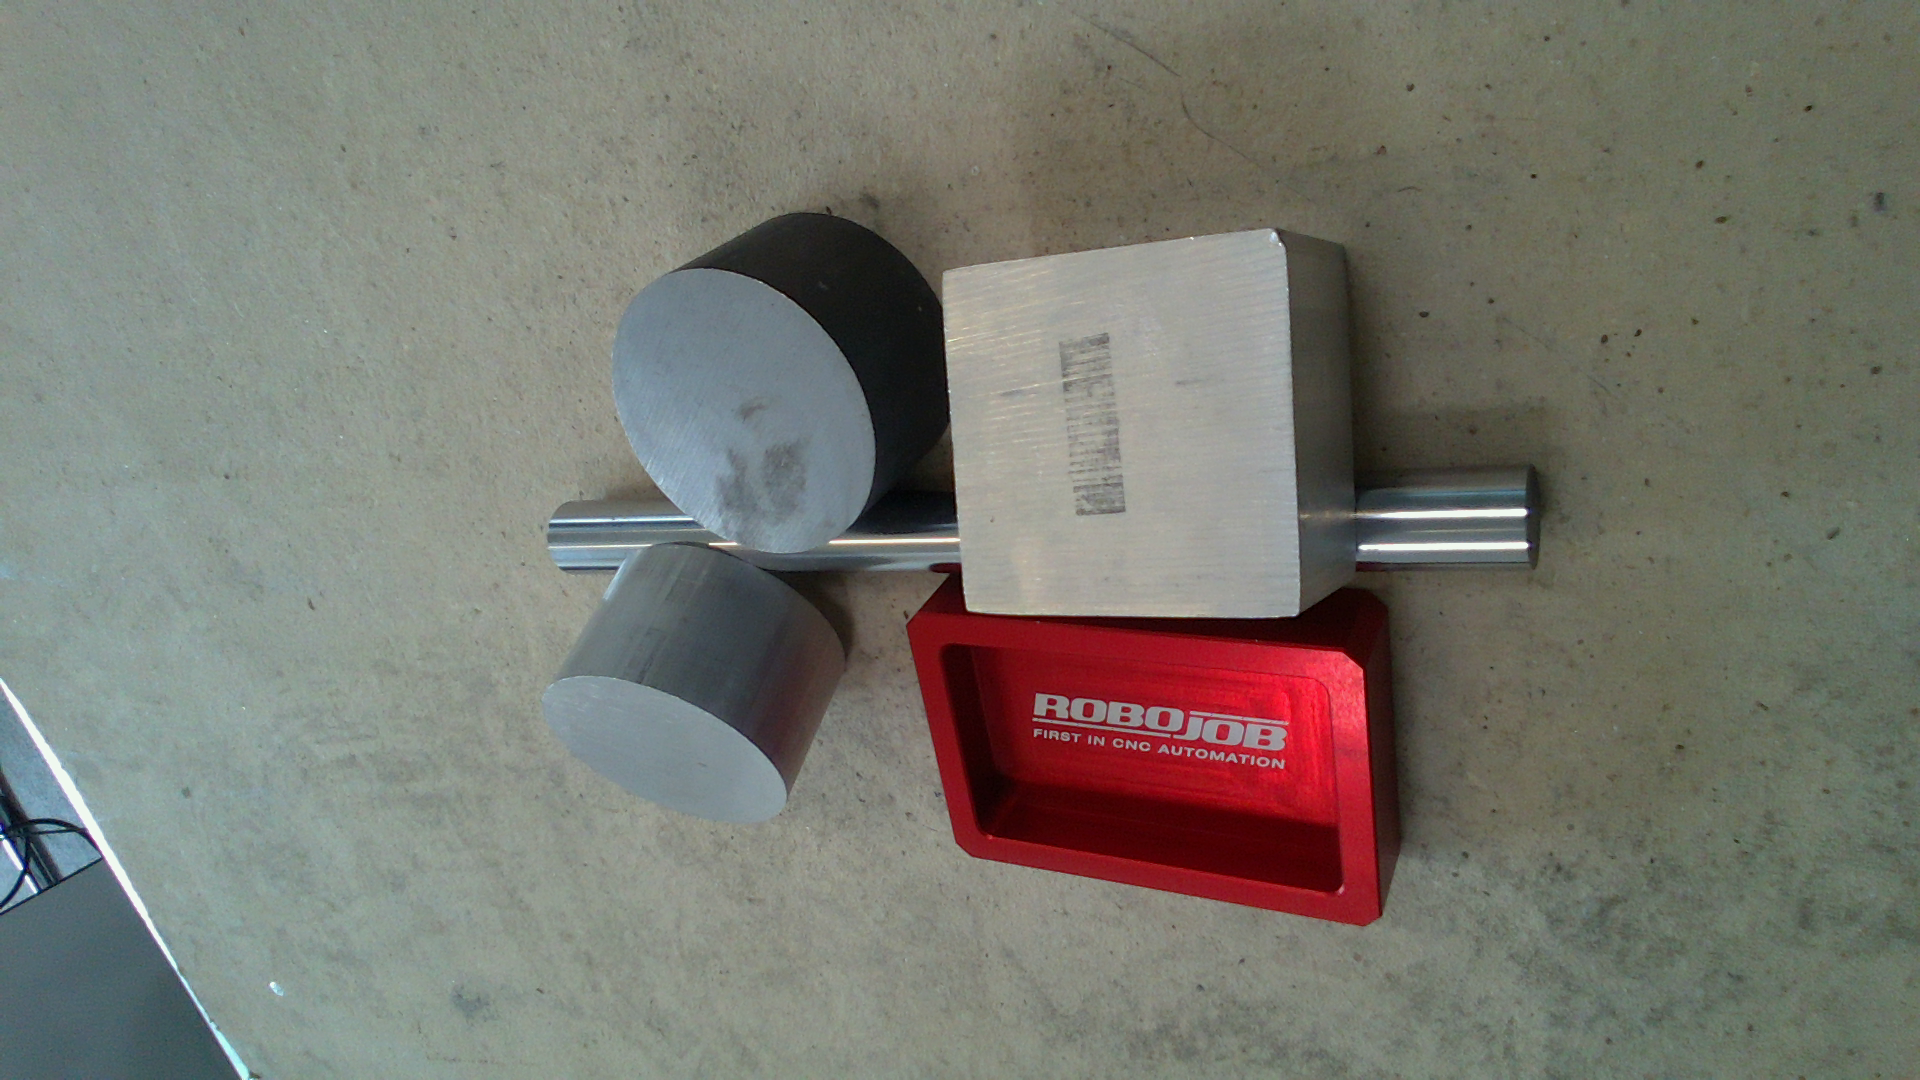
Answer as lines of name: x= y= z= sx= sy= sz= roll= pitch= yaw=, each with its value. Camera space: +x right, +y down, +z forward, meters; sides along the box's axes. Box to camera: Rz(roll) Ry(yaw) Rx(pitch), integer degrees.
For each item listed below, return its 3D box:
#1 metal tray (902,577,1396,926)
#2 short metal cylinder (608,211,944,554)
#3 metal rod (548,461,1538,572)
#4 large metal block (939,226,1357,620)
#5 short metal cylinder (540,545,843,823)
metal tray: x=0.054 y=0.057 z=0.395 sx=0.130 sy=0.030 sz=0.090 roll=3 pitch=120 yaw=27
short metal cylinder: x=-0.047 y=-0.043 z=0.376 sx=0.080 sy=0.050 sz=0.080 roll=13 pitch=124 yaw=21
metal rod: x=0.002 y=-0.004 z=0.391 sx=0.299 sy=0.025 sz=0.025 roll=-1 pitch=118 yaw=29
large metal block: x=0.045 y=-0.026 z=0.321 sx=0.080 sy=0.050 sz=0.080 roll=-1 pitch=97 yaw=29
short metal cylinder: x=-0.083 y=0.047 z=0.434 sx=0.080 sy=0.050 sz=0.080 roll=14 pitch=144 yaw=11
